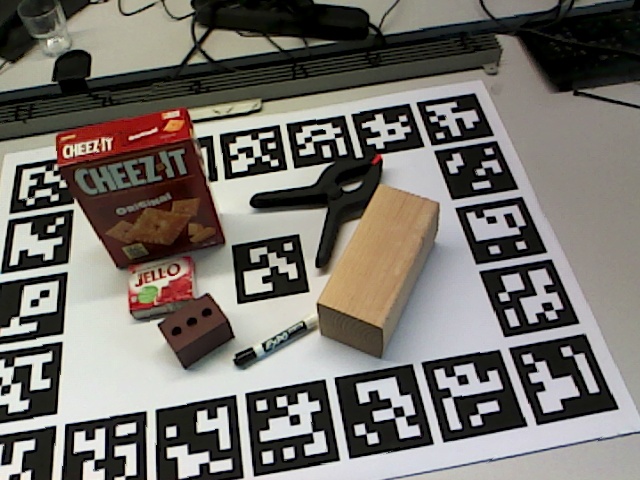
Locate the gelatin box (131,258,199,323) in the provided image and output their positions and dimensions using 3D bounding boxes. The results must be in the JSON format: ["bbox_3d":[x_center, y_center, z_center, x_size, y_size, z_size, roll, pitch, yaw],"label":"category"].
[{"bbox_3d":[-0.217,0.070,0.868,0.089,0.030,0.073,-11,58,-3],"label":"gelatin box"}]

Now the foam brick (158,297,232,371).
[{"bbox_3d":[-0.164,0.123,0.813,0.078,0.051,0.053,-32,62,-15],"label":"foam brick"}]

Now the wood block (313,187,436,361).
[{"bbox_3d":[0.076,0.041,0.828,0.090,0.090,0.206,18,57,19],"label":"wood block"}]

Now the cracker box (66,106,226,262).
[{"bbox_3d":[-0.227,-0.068,0.842,0.164,0.213,0.072,-12,56,-6],"label":"cracker box"}]

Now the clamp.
[{"bbox_3d":[0.014,-0.063,0.929,0.202,0.036,0.166,-37,62,-18],"label":"clamp"}]

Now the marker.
[{"bbox_3d":[-0.070,0.140,0.811,0.121,0.019,0.020,-28,61,-13],"label":"marker"}]
